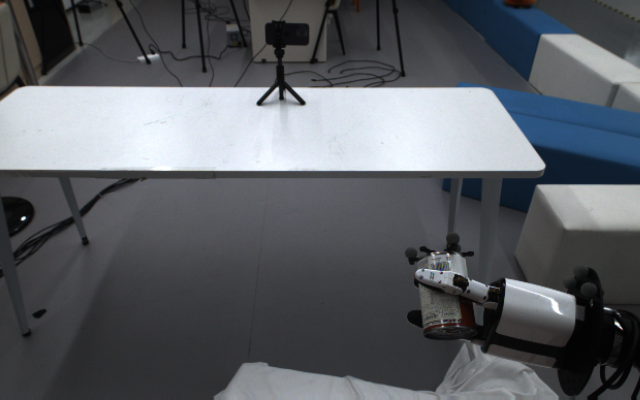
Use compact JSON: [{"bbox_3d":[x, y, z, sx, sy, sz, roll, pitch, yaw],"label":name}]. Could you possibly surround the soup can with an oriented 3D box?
[{"bbox_3d":[0.168,0.126,0.642,0.067,0.067,0.101,0,62,-2],"label":"soup can"}]
